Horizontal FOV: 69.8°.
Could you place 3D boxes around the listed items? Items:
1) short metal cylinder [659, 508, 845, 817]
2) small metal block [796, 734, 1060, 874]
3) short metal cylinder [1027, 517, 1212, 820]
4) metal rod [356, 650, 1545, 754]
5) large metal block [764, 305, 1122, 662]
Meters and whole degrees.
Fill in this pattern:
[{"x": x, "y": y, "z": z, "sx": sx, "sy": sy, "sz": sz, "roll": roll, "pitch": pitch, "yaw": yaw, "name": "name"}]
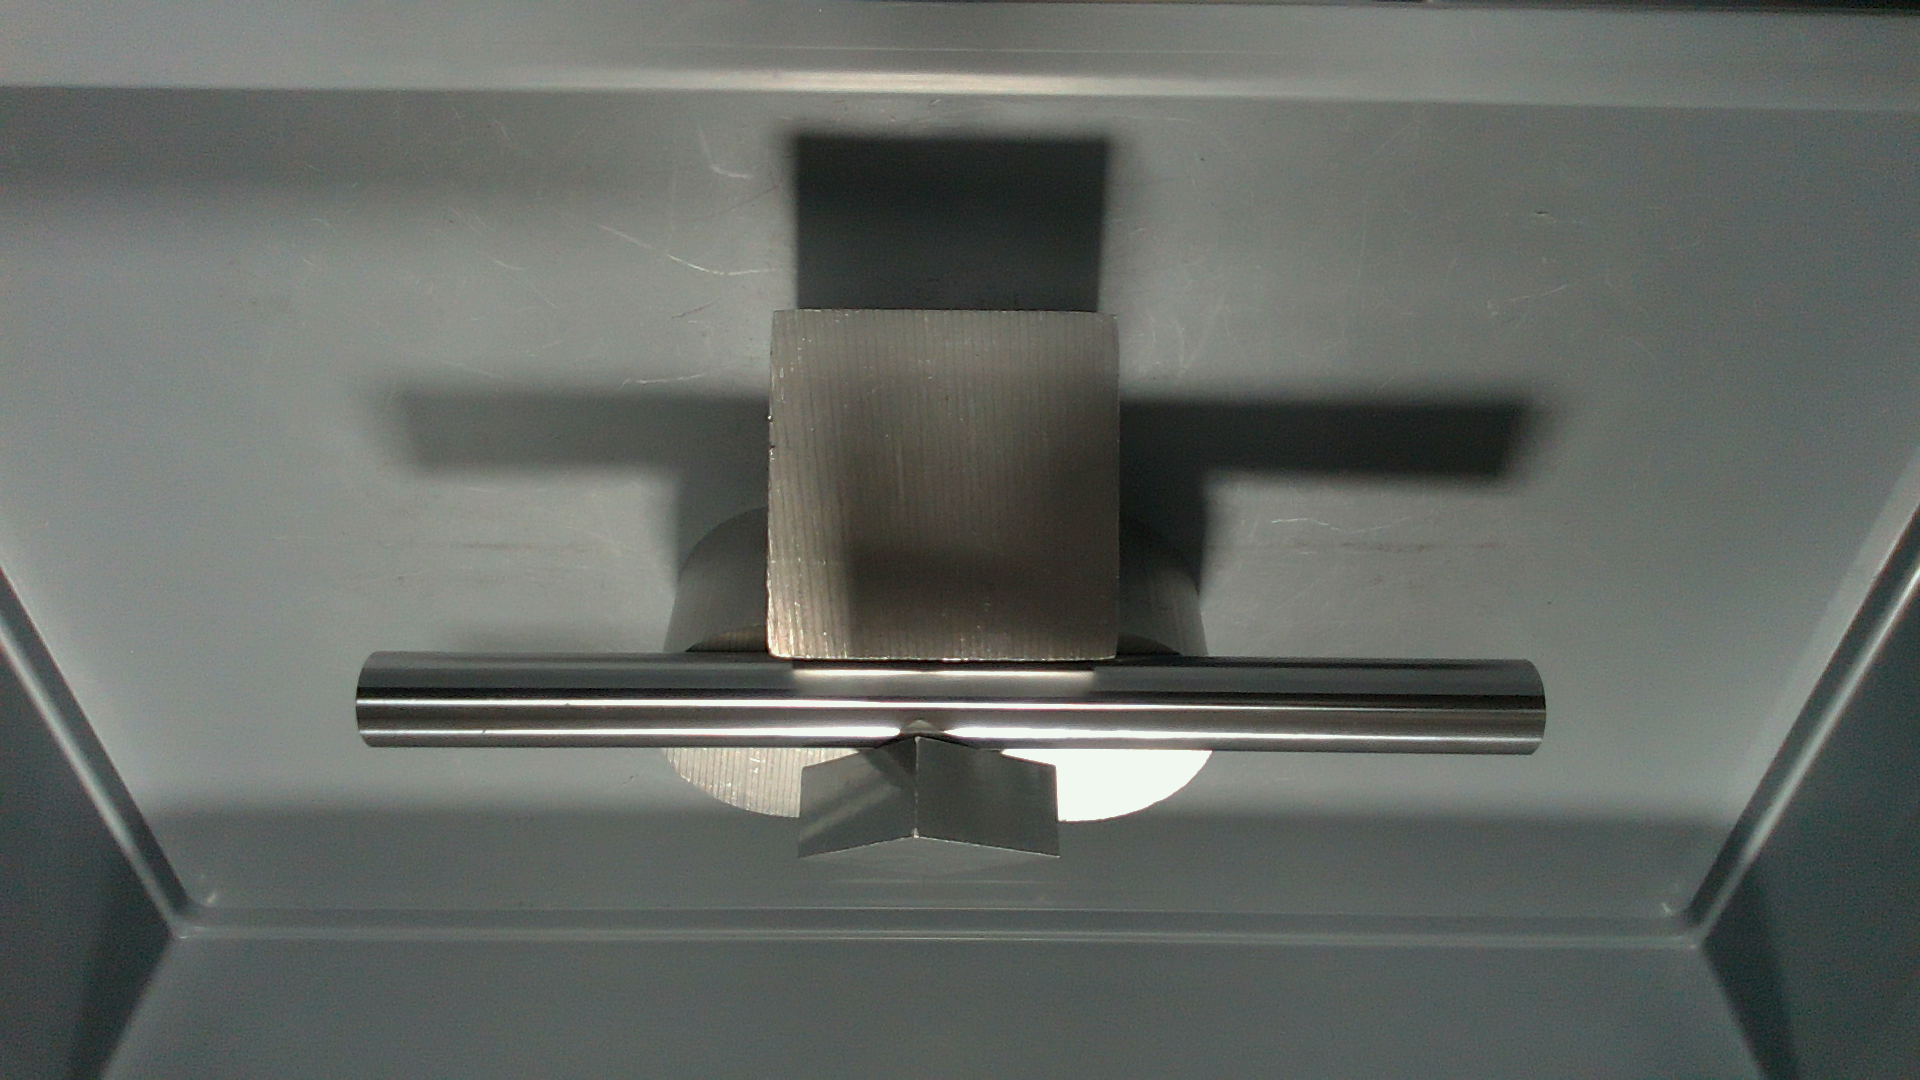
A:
[{"x": -0.047, "y": 0.036, "z": 0.403, "sx": 0.080, "sy": 0.050, "sz": 0.080, "roll": 0, "pitch": 130, "yaw": 0, "name": "short metal cylinder"}, {"x": -0.009, "y": 0.073, "z": 0.371, "sx": 0.050, "sy": 0.025, "sz": 0.050, "roll": 18, "pitch": 152, "yaw": -38, "name": "small metal block"}, {"x": 0.033, "y": 0.037, "z": 0.405, "sx": 0.080, "sy": 0.050, "sz": 0.080, "roll": 0, "pitch": 130, "yaw": 0, "name": "short metal cylinder"}, {"x": -0.002, "y": 0.042, "z": 0.360, "sx": 0.300, "sy": 0.025, "sz": 0.025, "roll": 0, "pitch": 130, "yaw": -1, "name": "metal rod"}, {"x": -0.004, "y": -0.012, "z": 0.336, "sx": 0.080, "sy": 0.050, "sz": 0.080, "roll": 1, "pitch": 87, "yaw": -1, "name": "large metal block"}]
